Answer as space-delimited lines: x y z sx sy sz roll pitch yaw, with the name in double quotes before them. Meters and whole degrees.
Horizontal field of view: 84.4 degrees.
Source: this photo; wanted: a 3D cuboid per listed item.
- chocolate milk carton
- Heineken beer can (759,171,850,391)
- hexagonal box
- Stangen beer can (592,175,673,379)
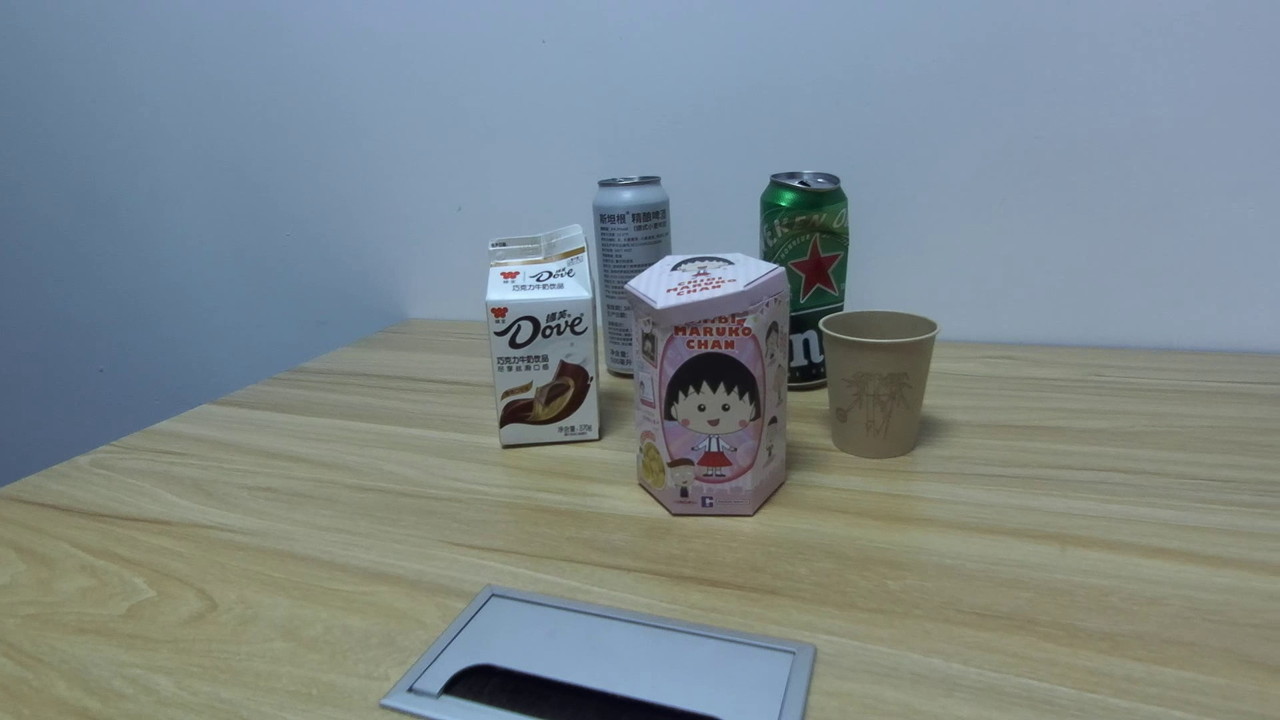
"chocolate milk carton" -0.068 -0.020 0.515 0.075 0.148 0.074 -3 17 -2
"Heineken beer can" 0.131 -0.062 0.570 0.068 0.168 0.069 5 23 18
"hexagonal box" 0.041 0.012 0.415 0.092 0.135 0.085 -1 19 9
"Stangen beer can" -0.006 -0.071 0.619 0.067 0.171 0.067 -2 11 1
